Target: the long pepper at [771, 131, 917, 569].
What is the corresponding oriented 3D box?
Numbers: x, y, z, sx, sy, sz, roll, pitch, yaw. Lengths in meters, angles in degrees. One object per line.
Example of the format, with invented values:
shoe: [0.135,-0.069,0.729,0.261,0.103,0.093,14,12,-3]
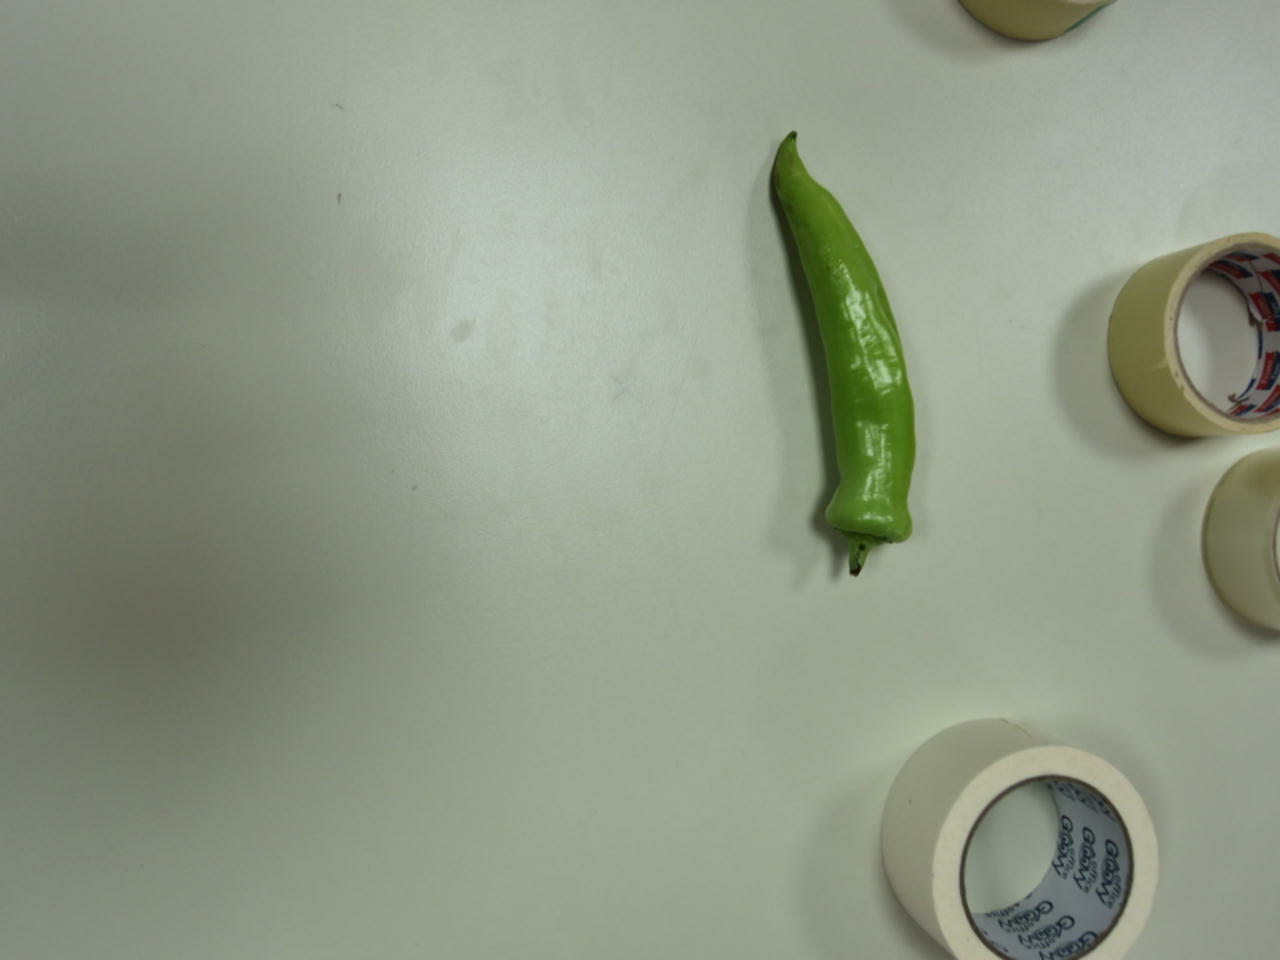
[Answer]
long pepper: [0.094,-0.059,0.438,0.047,0.038,0.197,-8,92,-11]
